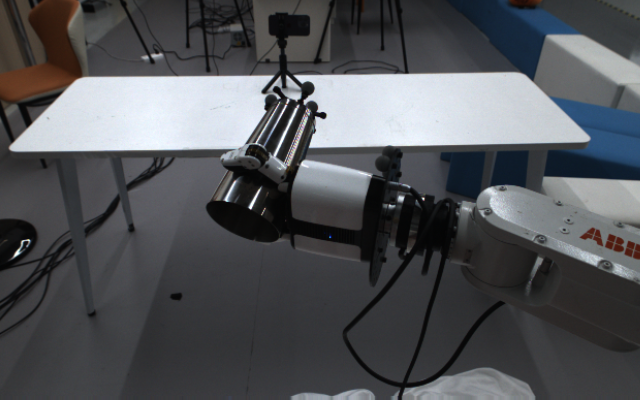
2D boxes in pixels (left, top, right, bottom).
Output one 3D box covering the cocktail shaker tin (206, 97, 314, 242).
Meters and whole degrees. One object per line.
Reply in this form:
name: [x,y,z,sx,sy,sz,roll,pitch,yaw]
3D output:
cocktail shaker tin: [-0.064,-0.043,0.602,0.093,0.093,0.170,13,60,16]
